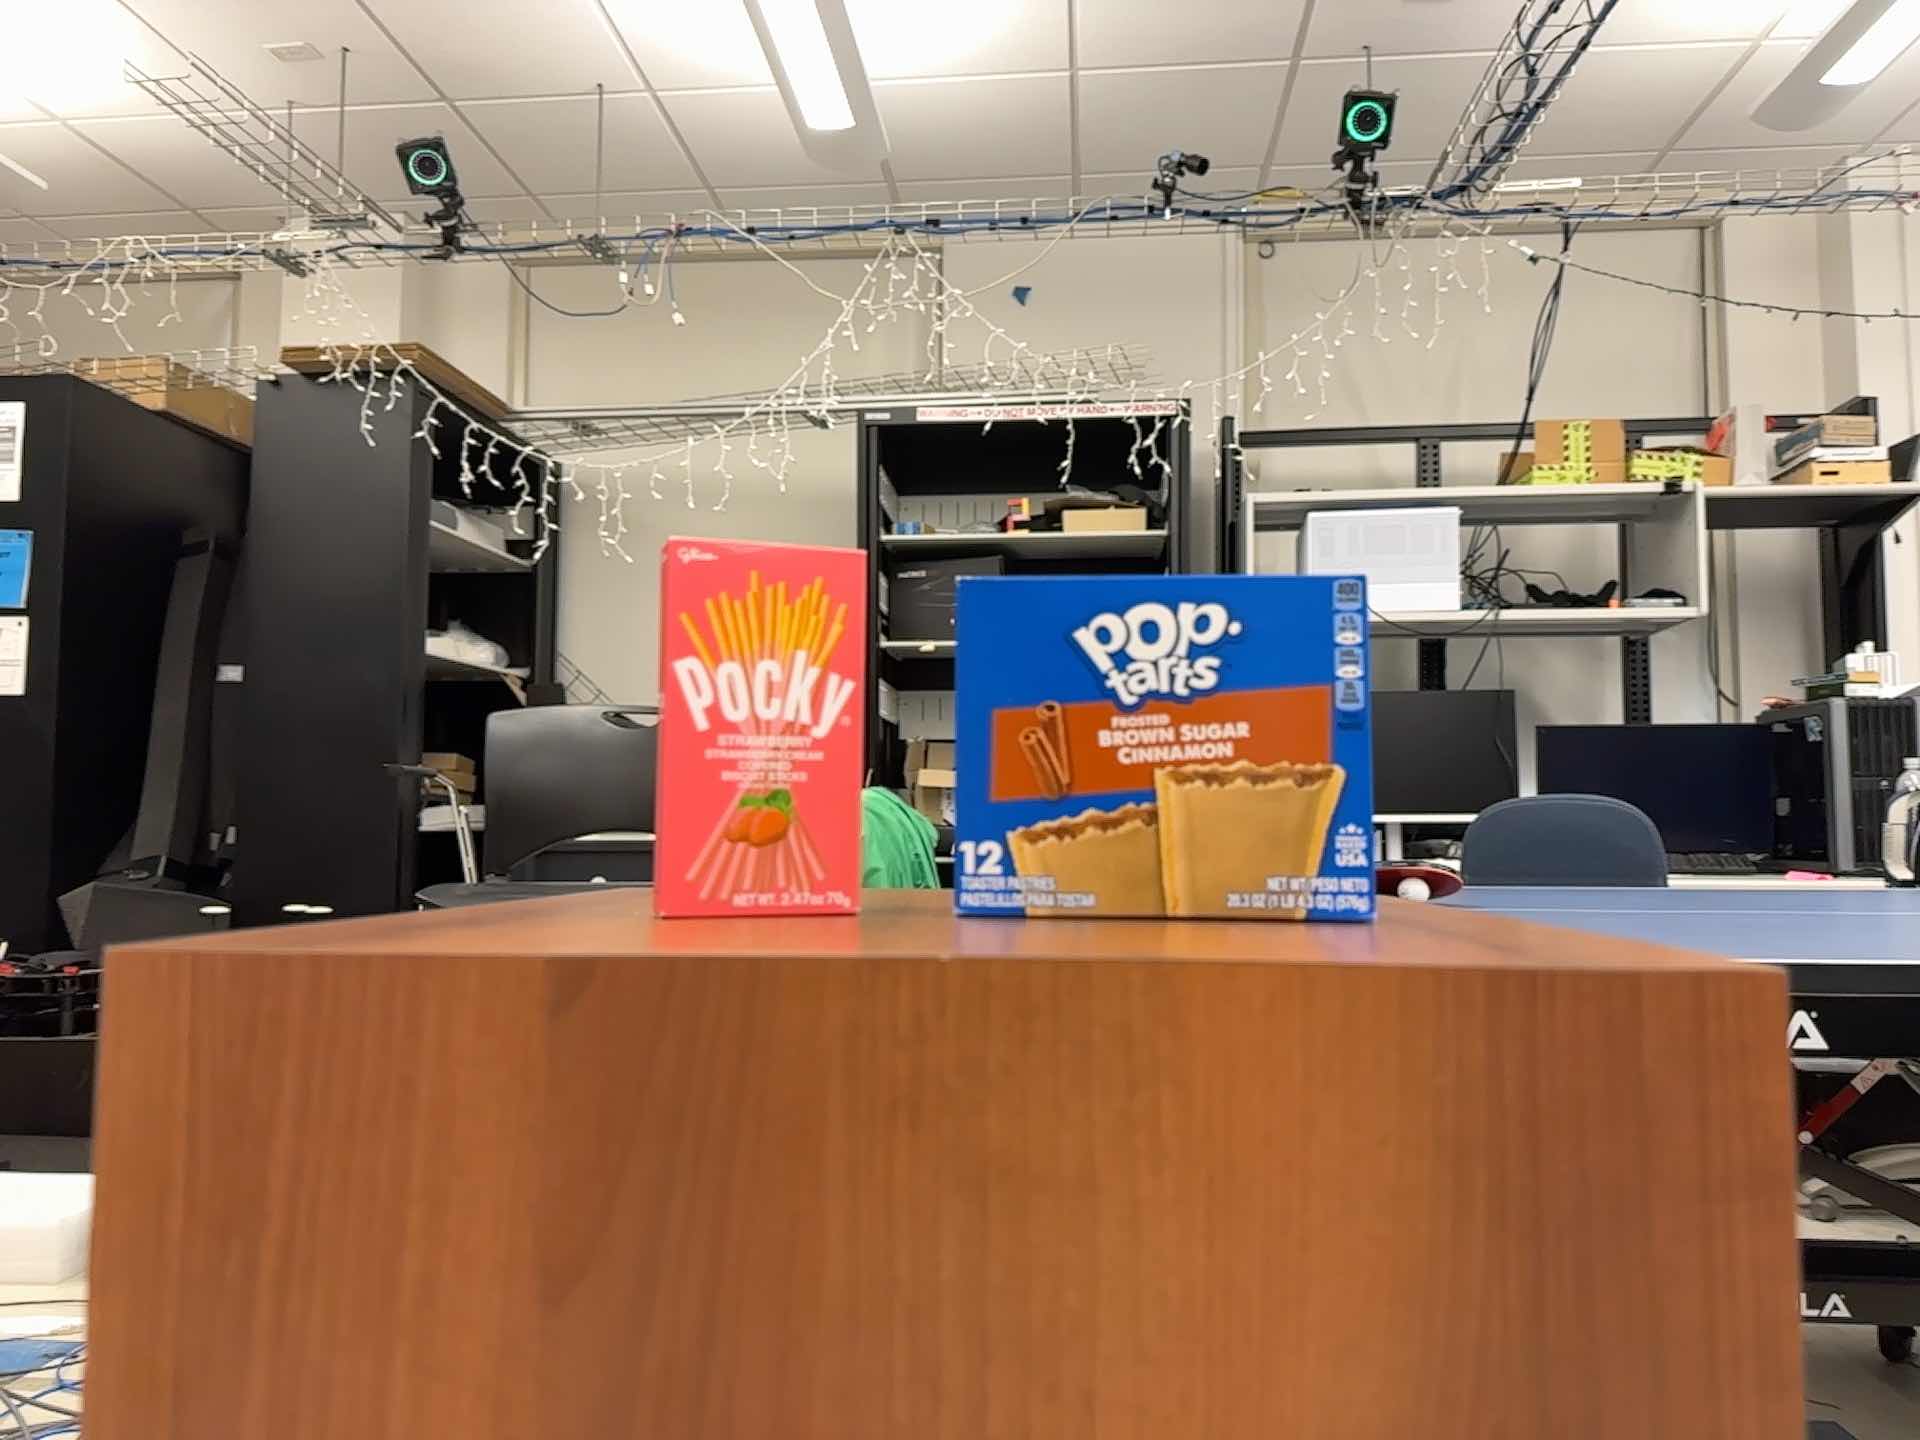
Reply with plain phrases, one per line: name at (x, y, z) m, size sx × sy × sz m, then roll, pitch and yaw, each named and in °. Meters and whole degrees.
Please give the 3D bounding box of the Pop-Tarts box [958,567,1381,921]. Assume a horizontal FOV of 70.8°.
Pop-Tarts box at (0.086, 0.012, 0.573) m, size 0.161 × 0.135 × 0.075 m, roll 1°, pitch -7°, yaw 5°

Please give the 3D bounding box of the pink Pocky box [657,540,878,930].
pink Pocky box at (-0.077, 0.006, 0.550) m, size 0.084 × 0.155 × 0.029 m, roll 2°, pitch -4°, yaw -16°
